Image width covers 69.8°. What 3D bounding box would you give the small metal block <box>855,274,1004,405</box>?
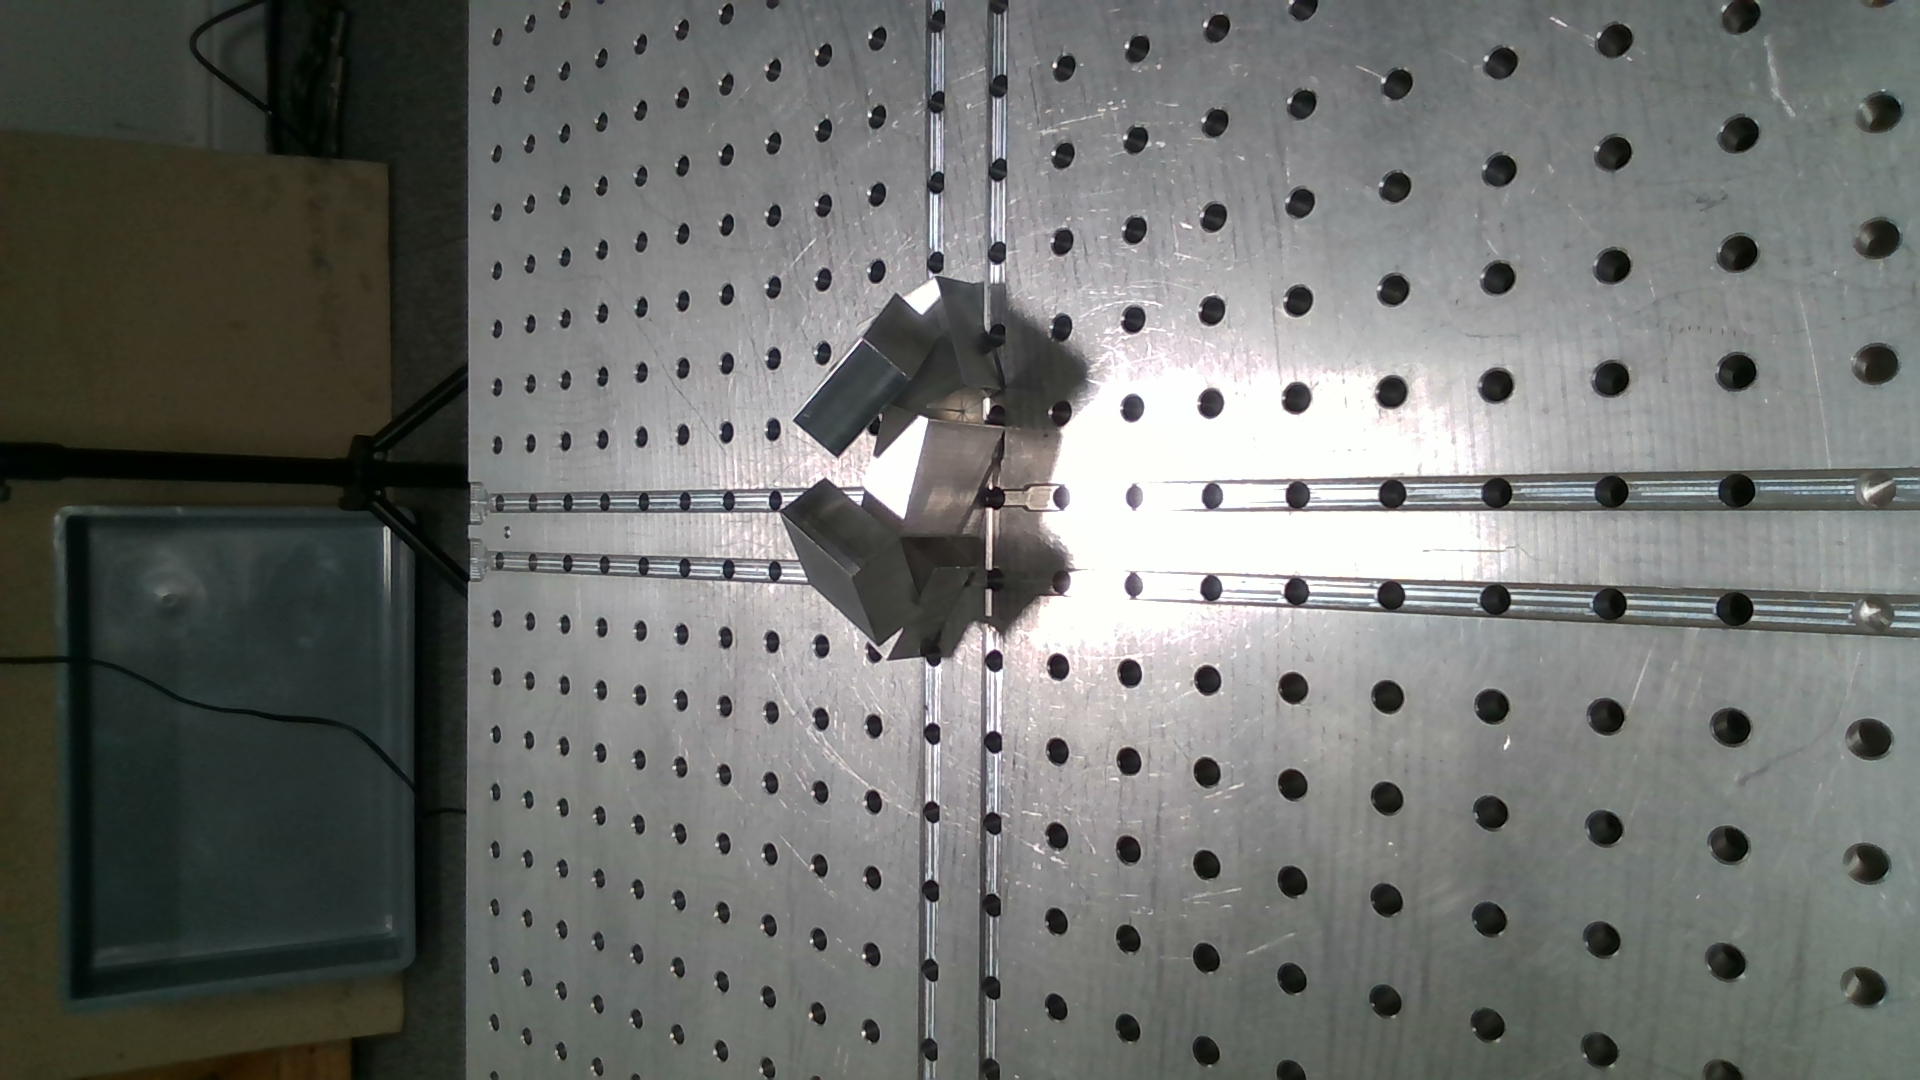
[{"bbox_3d":[-0.014,-0.080,0.596,0.050,0.025,0.050,-25,75,38],"label":"small metal block"}]

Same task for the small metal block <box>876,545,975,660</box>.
[{"bbox_3d":[-0.028,0.017,0.609,0.050,0.025,0.050,43,116,31],"label":"small metal block"}]

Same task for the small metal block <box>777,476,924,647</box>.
[{"bbox_3d":[-0.045,0.009,0.572,0.050,0.025,0.050,38,158,33],"label":"small metal block"}]

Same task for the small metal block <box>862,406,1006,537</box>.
[{"bbox_3d":[-0.012,-0.029,0.578,0.025,0.050,0.050,24,106,38],"label":"small metal block"}]

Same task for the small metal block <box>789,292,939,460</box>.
[{"bbox_3d":[-0.039,-0.068,0.564,0.025,0.050,0.050,40,122,-10],"label":"small metal block"}]
